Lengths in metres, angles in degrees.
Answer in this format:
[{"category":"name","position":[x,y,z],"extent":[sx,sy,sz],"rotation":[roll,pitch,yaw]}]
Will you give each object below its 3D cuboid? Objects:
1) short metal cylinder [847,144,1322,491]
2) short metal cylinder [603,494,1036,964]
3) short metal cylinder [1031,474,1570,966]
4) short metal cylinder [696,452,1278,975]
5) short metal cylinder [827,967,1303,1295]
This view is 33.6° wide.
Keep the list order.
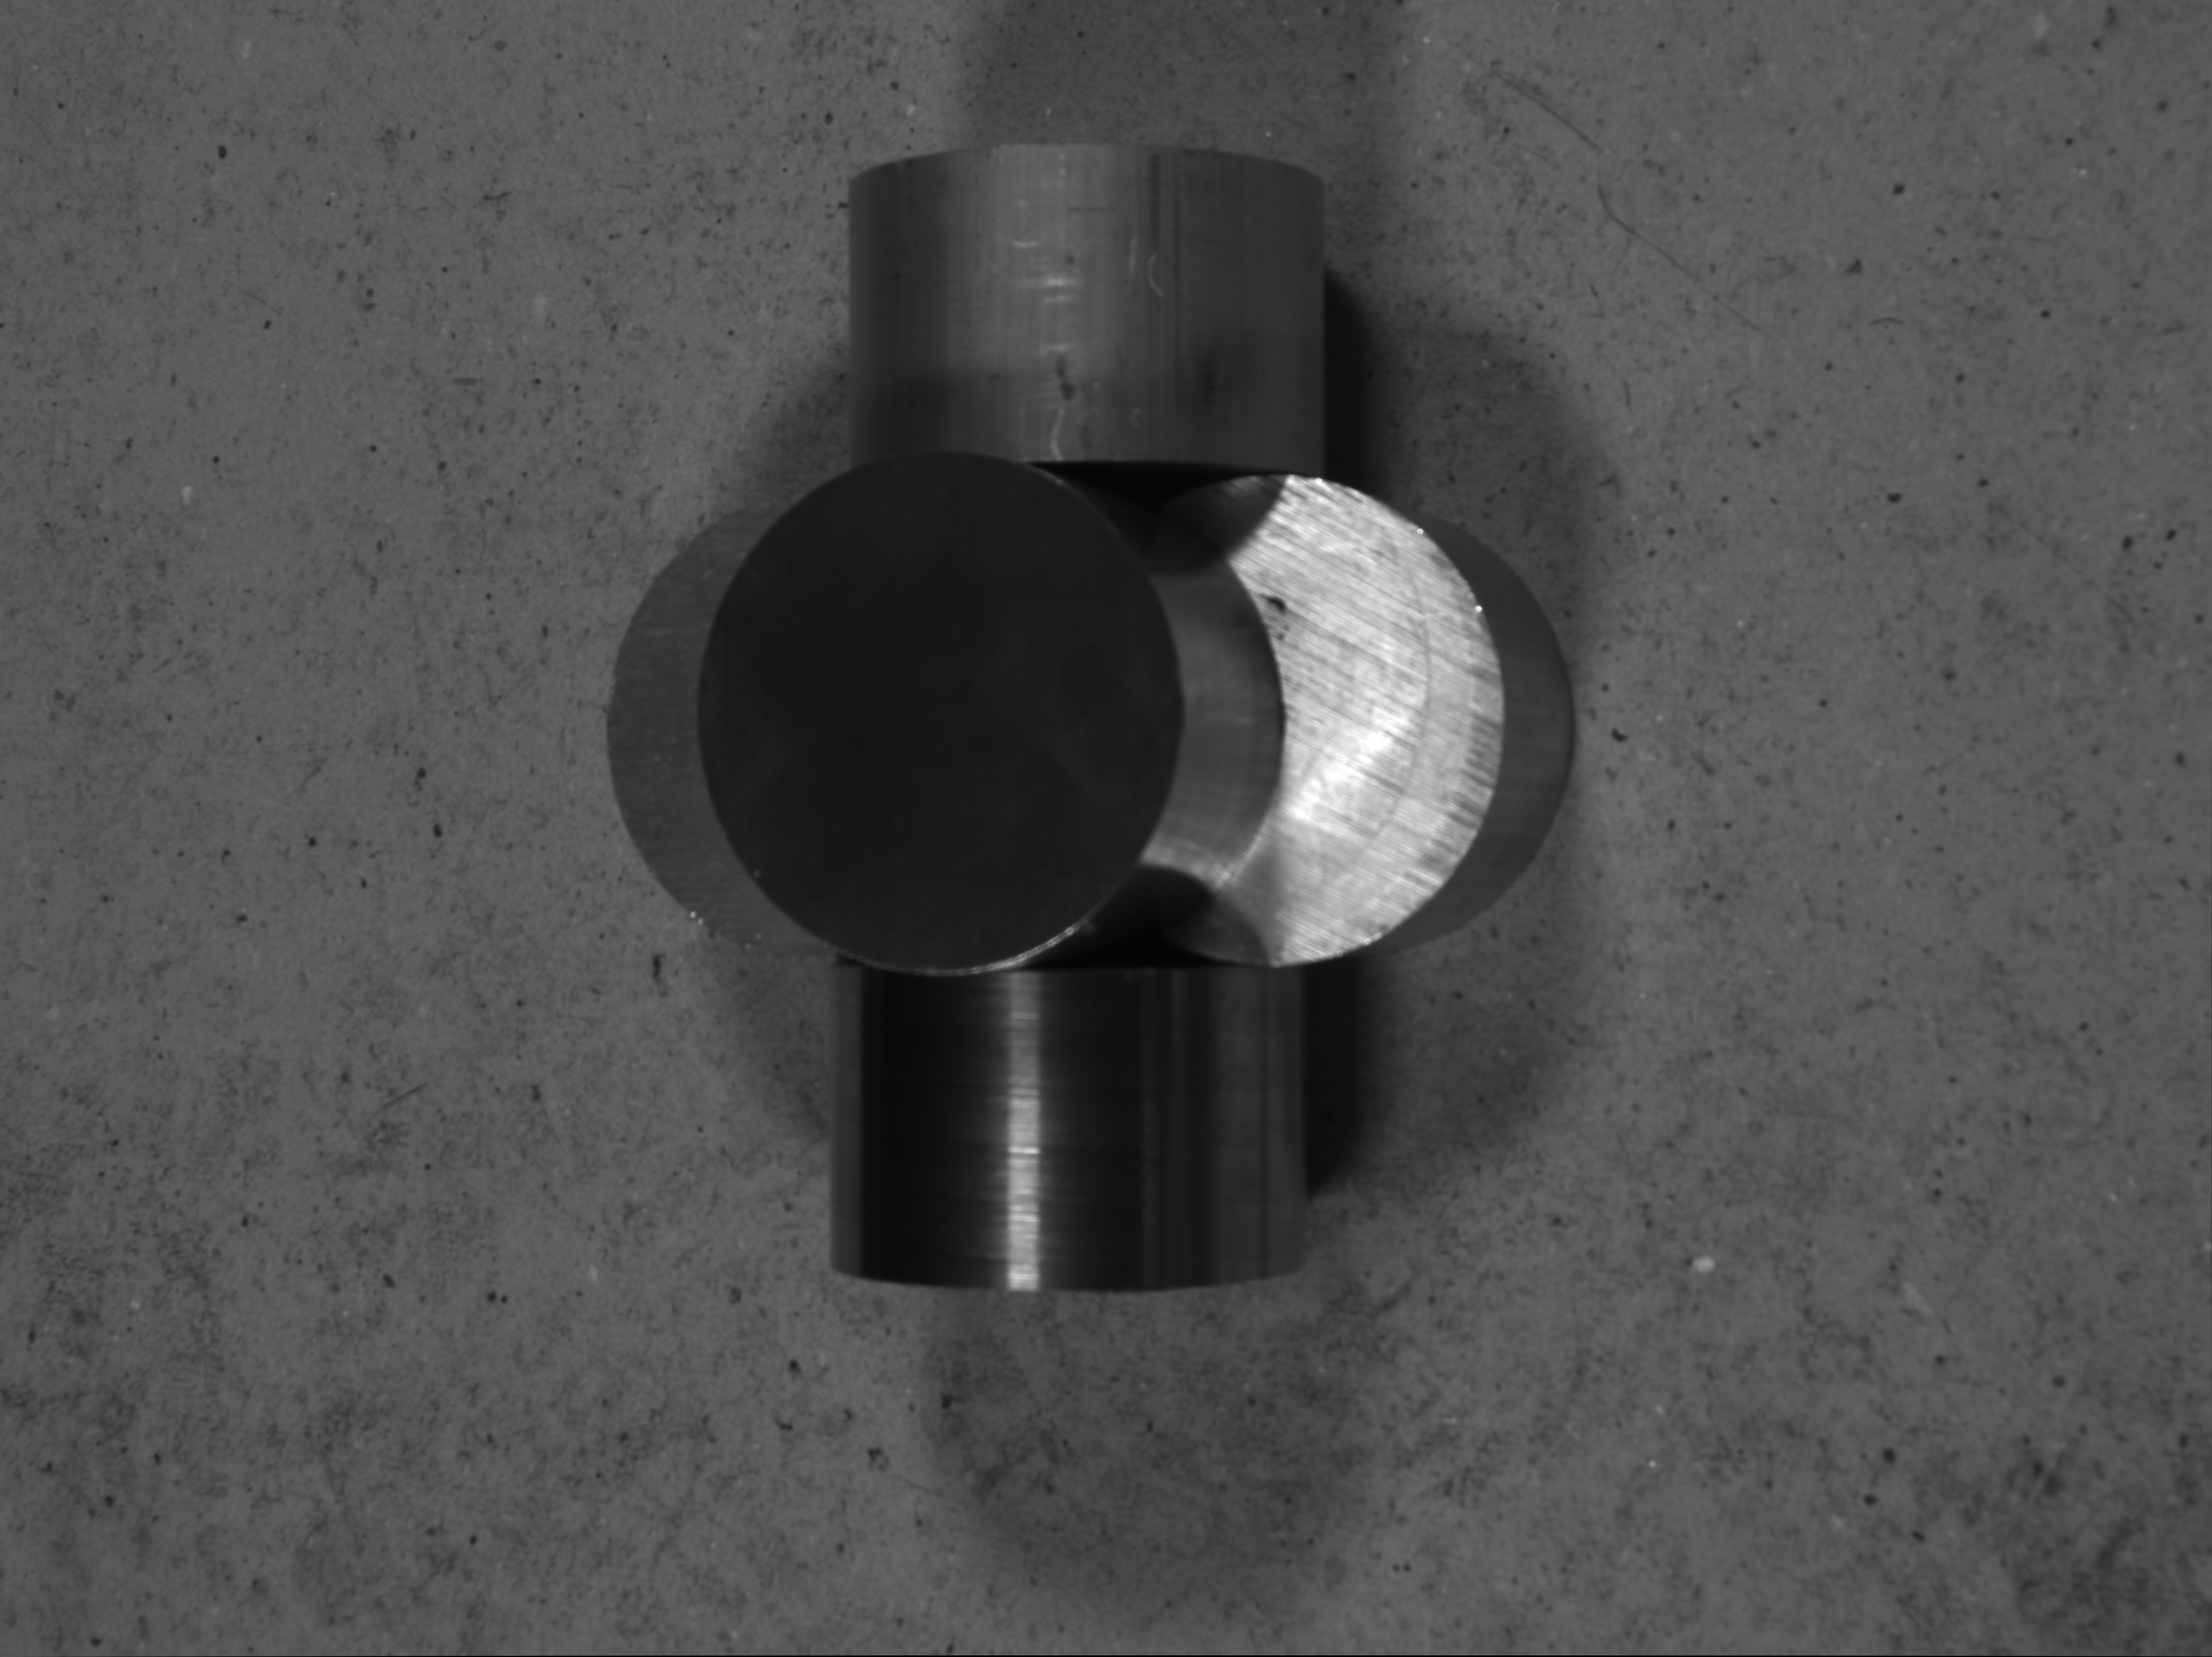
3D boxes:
[{"category":"short metal cylinder","position":[-0.003,-0.083,0.617],"extent":[0.080,0.080,0.050],"rotation":[0,90,20]},{"category":"short metal cylinder","position":[-0.041,-0.017,0.646],"extent":[0.080,0.050,0.080],"rotation":[0,90,20]},{"category":"short metal cylinder","position":[0.034,-0.018,0.619],"extent":[0.080,0.050,0.080],"rotation":[0,90,20]},{"category":"short metal cylinder","position":[-0.018,-0.018,0.584],"extent":[0.080,0.050,0.080],"rotation":[0,90,20]},{"category":"short metal cylinder","position":[-0.007,0.049,0.618],"extent":[0.080,0.080,0.050],"rotation":[0,90,20]}]
